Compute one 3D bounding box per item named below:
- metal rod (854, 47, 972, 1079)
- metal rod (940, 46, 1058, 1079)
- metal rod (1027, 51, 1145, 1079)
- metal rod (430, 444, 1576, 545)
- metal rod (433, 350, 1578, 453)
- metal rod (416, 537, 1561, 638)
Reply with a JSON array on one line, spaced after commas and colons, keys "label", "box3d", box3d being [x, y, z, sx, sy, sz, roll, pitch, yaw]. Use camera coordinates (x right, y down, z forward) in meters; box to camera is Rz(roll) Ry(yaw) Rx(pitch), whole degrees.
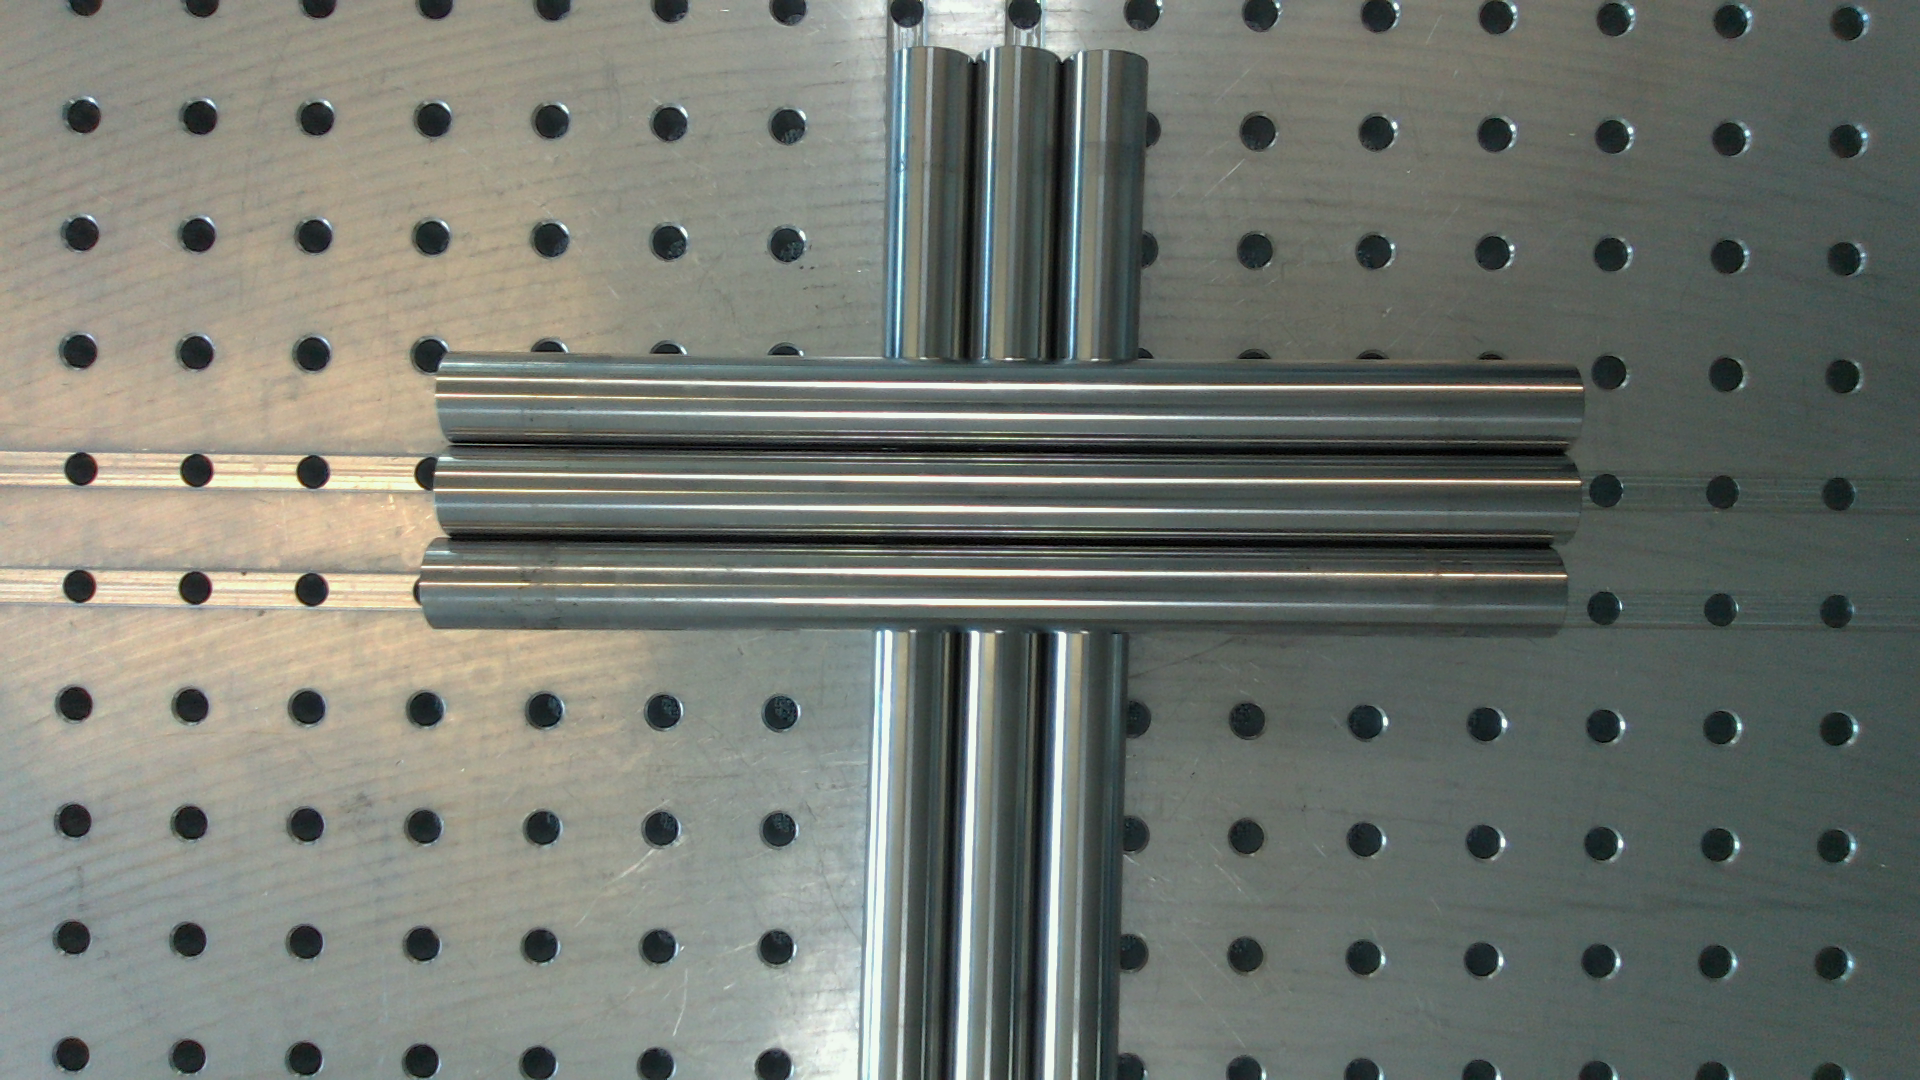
[{"label": "metal rod", "box3d": [-0.014, 0.012, 0.398, 0.025, 0.025, 0.300, 2, 90, 0]}, {"label": "metal rod", "box3d": [0.011, 0.012, 0.398, 0.025, 0.025, 0.300, 2, 90, 0]}, {"label": "metal rod", "box3d": [0.036, 0.013, 0.398, 0.025, 0.025, 0.300, 2, 90, 0]}, {"label": "metal rod", "box3d": [0.012, -0.012, 0.373, 0.300, 0.025, 0.025, 0, 90, 0]}, {"label": "metal rod", "box3d": [0.012, -0.037, 0.372, 0.300, 0.025, 0.025, 0, 90, 0]}, {"label": "metal rod", "box3d": [0.008, 0.013, 0.373, 0.300, 0.025, 0.025, 0, 90, 0]}]
